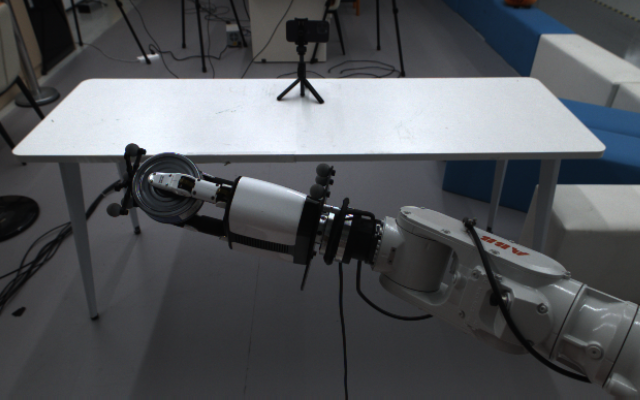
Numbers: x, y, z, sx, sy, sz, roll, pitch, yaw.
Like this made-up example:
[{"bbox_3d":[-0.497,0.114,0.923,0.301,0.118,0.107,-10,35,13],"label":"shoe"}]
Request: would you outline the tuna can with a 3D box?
[{"bbox_3d":[-0.185,-0.011,0.601,0.085,0.034,0.085,1,75,-4],"label":"tuna can"}]
